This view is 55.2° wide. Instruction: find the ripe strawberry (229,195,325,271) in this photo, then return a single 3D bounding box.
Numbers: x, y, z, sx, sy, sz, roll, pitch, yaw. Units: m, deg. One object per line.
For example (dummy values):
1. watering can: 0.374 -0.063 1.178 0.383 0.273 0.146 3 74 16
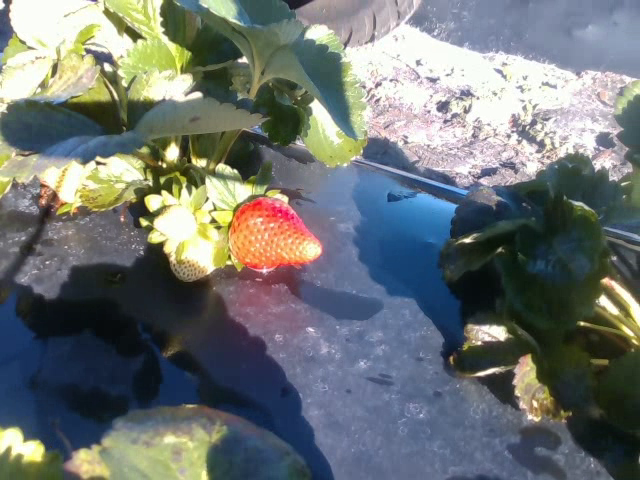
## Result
1. ripe strawberry: -0.021 0.000 0.332 0.064 0.049 0.052 20 -19 32
